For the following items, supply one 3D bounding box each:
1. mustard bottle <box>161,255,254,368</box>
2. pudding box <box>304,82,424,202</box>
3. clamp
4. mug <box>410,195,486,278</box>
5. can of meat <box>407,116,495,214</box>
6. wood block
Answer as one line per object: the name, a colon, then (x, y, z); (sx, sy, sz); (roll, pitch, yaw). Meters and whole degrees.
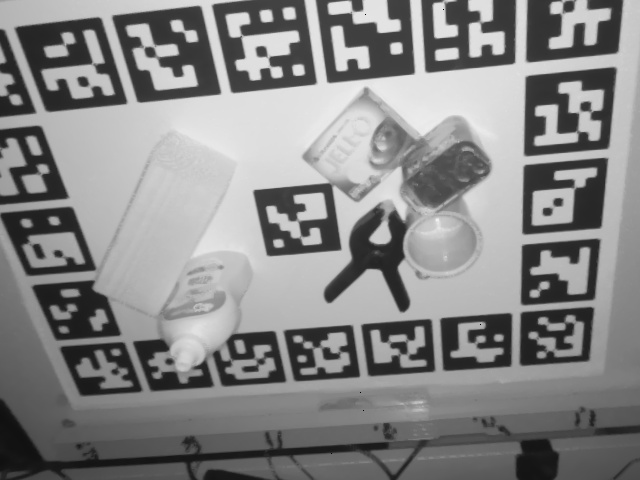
mustard bottle: (-0.141, 0.088, 0.845); (0.096, 0.193, 0.058); (-9, 118, 8)
pudding box: (0.051, -0.113, 0.813); (0.090, 0.039, 0.112); (40, 115, -17)
clamp: (0.077, 0.030, 0.897); (0.122, 0.037, 0.163); (13, 117, -2)
mug: (0.153, -0.008, 0.867); (0.093, 0.082, 0.116); (15, 117, -5)
can of meat: (0.149, -0.089, 0.790); (0.101, 0.084, 0.058); (-33, 111, 19)
wood block: (-0.191, -0.025, 0.848); (0.090, 0.092, 0.203); (28, 119, -14)
